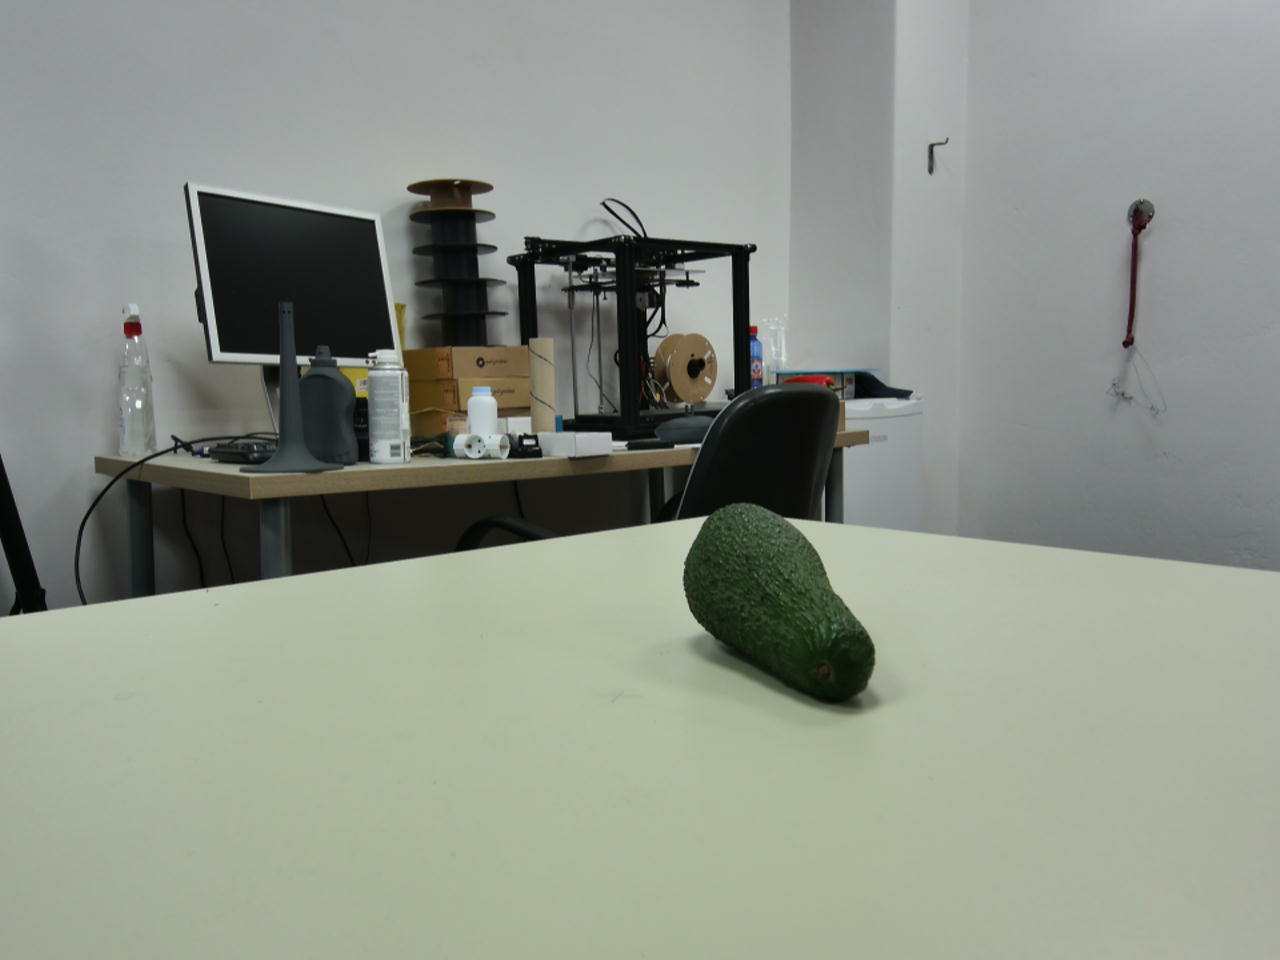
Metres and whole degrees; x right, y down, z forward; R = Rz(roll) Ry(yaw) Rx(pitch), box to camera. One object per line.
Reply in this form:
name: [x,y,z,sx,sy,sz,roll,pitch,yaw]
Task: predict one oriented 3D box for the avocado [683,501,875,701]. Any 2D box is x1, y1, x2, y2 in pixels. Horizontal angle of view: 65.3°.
avocado: [0.064,0.047,0.439,0.063,0.067,0.141,-1,3,-25]
